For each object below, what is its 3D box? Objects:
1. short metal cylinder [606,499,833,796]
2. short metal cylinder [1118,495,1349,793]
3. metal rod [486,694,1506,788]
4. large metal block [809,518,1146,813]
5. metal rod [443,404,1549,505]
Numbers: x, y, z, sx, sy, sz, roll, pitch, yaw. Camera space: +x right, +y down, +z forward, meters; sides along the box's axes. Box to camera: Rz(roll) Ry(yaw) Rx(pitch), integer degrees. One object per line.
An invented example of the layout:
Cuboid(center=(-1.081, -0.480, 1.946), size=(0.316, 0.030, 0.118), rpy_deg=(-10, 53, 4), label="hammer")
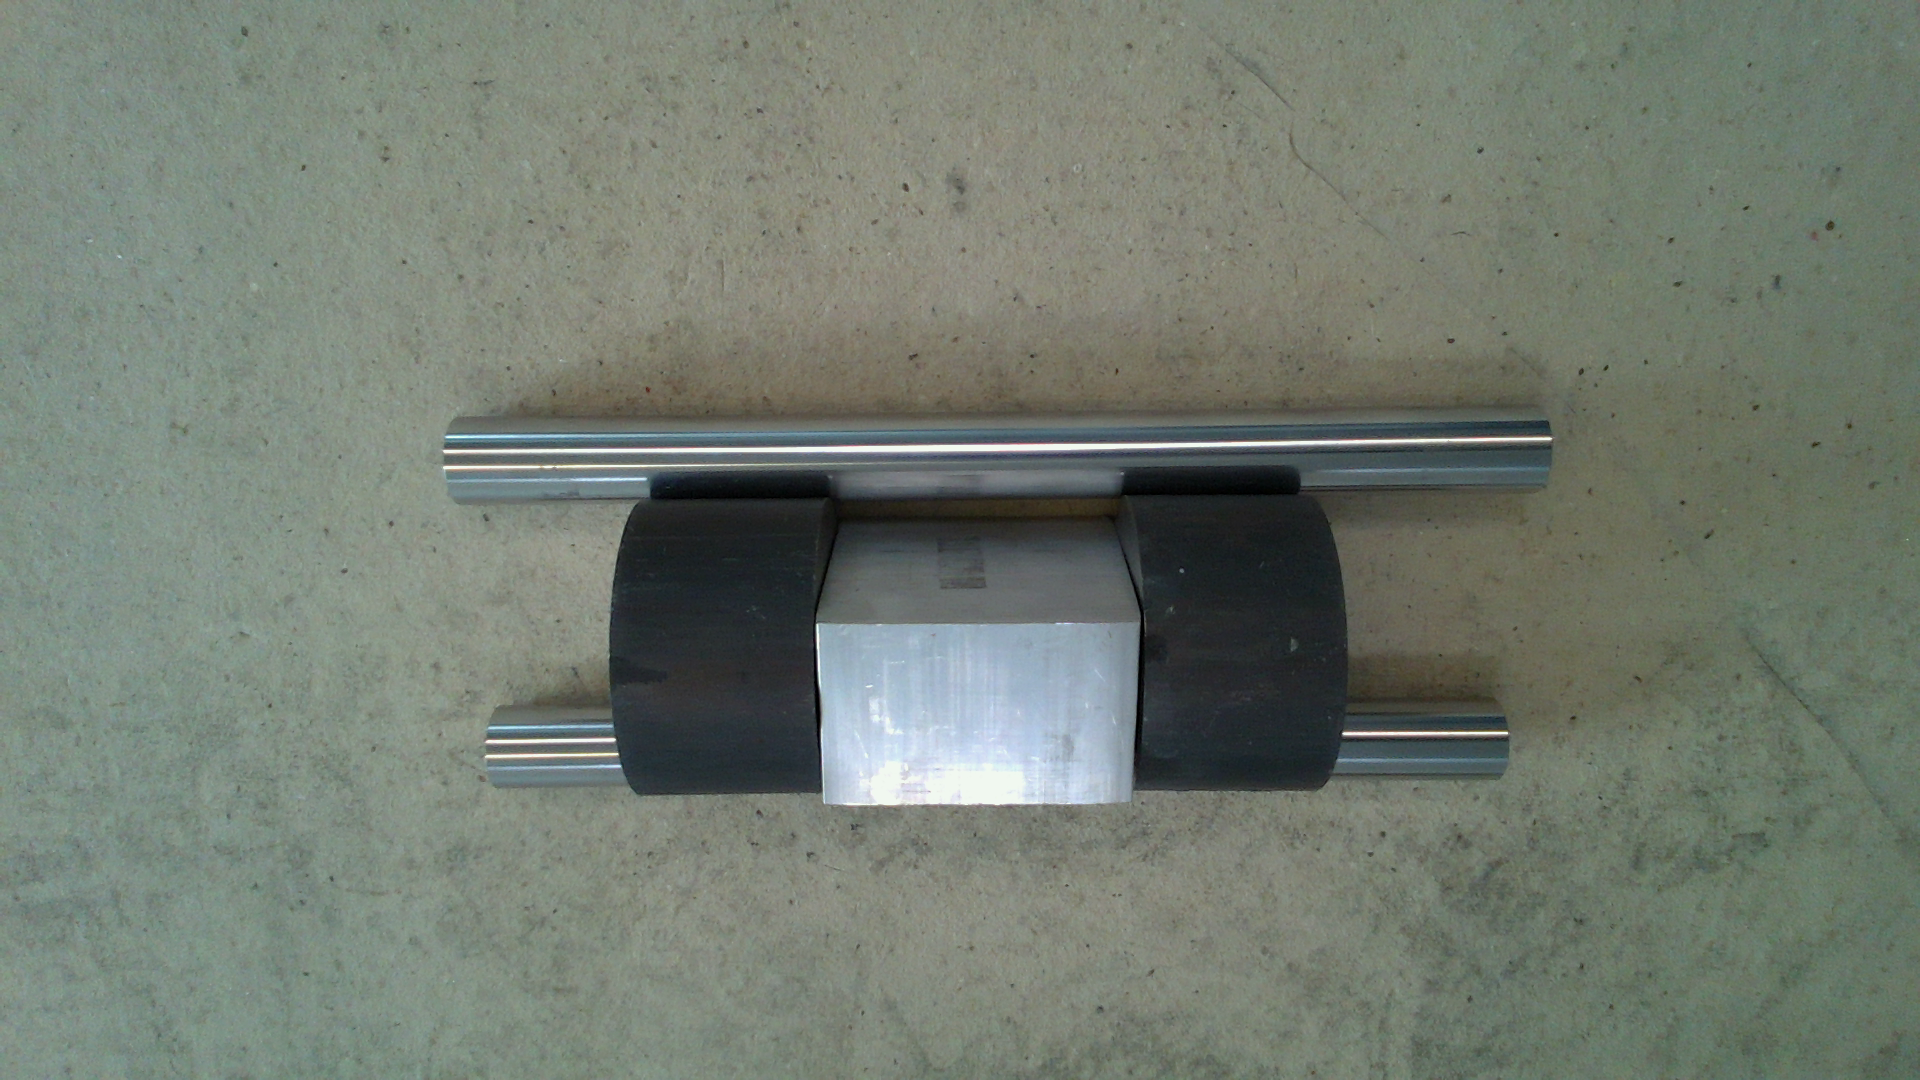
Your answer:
Cuboid(center=(-0.061, 0.029, 0.375), size=(0.050, 0.080, 0.080), rpy_deg=(-1, 110, 0), label="short metal cylinder")
Cuboid(center=(0.070, 0.028, 0.375), size=(0.050, 0.080, 0.080), rpy_deg=(-1, 110, 0), label="short metal cylinder")
Cuboid(center=(0.011, 0.061, 0.417), size=(0.300, 0.025, 0.025), rpy_deg=(-1, 110, 0), label="metal rod")
Cuboid(center=(0.004, 0.031, 0.373), size=(0.080, 0.080, 0.050), rpy_deg=(0, 110, 0), label="large metal block")
Cuboid(center=(0.010, -0.024, 0.385), size=(0.300, 0.025, 0.025), rpy_deg=(-1, 110, 0), label="metal rod")
